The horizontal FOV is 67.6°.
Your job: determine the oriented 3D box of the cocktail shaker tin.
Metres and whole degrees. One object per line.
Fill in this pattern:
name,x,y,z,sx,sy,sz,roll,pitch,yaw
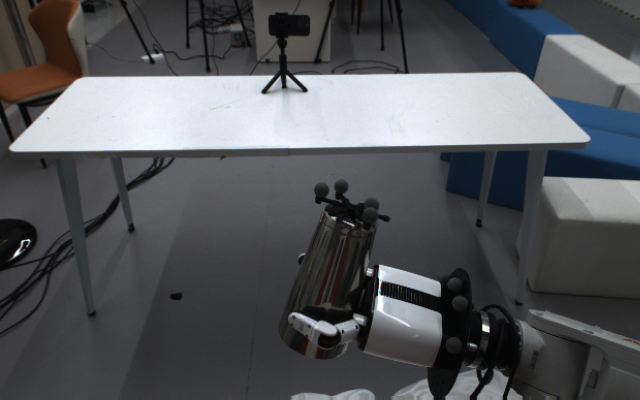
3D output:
cocktail shaker tin,0.015,0.094,0.586,0.093,0.170,0.093,14,20,-5
